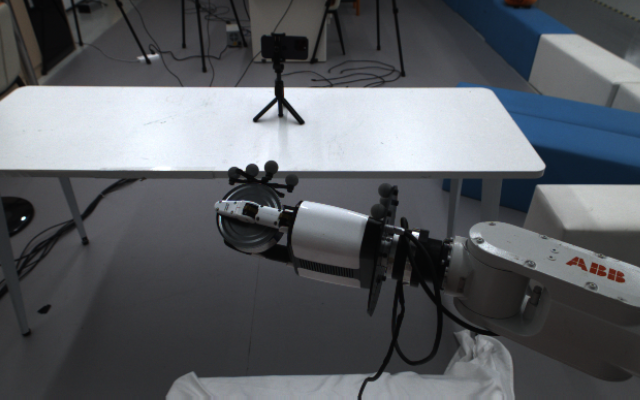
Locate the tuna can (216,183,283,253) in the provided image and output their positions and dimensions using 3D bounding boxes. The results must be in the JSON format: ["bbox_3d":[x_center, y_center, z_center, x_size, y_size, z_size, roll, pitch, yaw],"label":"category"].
[{"bbox_3d":[-0.085,0.023,0.617,0.085,0.034,0.085,-3,69,8],"label":"tuna can"}]
